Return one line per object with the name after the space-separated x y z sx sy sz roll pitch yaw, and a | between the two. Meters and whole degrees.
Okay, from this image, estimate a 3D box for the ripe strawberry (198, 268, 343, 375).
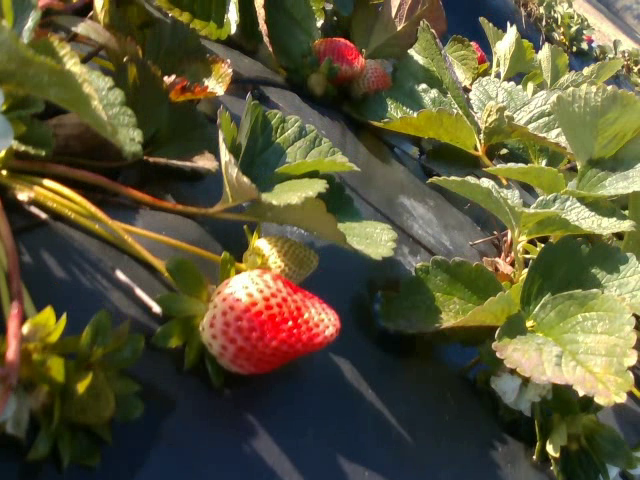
-0.013 0.023 0.166 0.045 0.037 0.042 -5 -3 27 | ripe strawberry
